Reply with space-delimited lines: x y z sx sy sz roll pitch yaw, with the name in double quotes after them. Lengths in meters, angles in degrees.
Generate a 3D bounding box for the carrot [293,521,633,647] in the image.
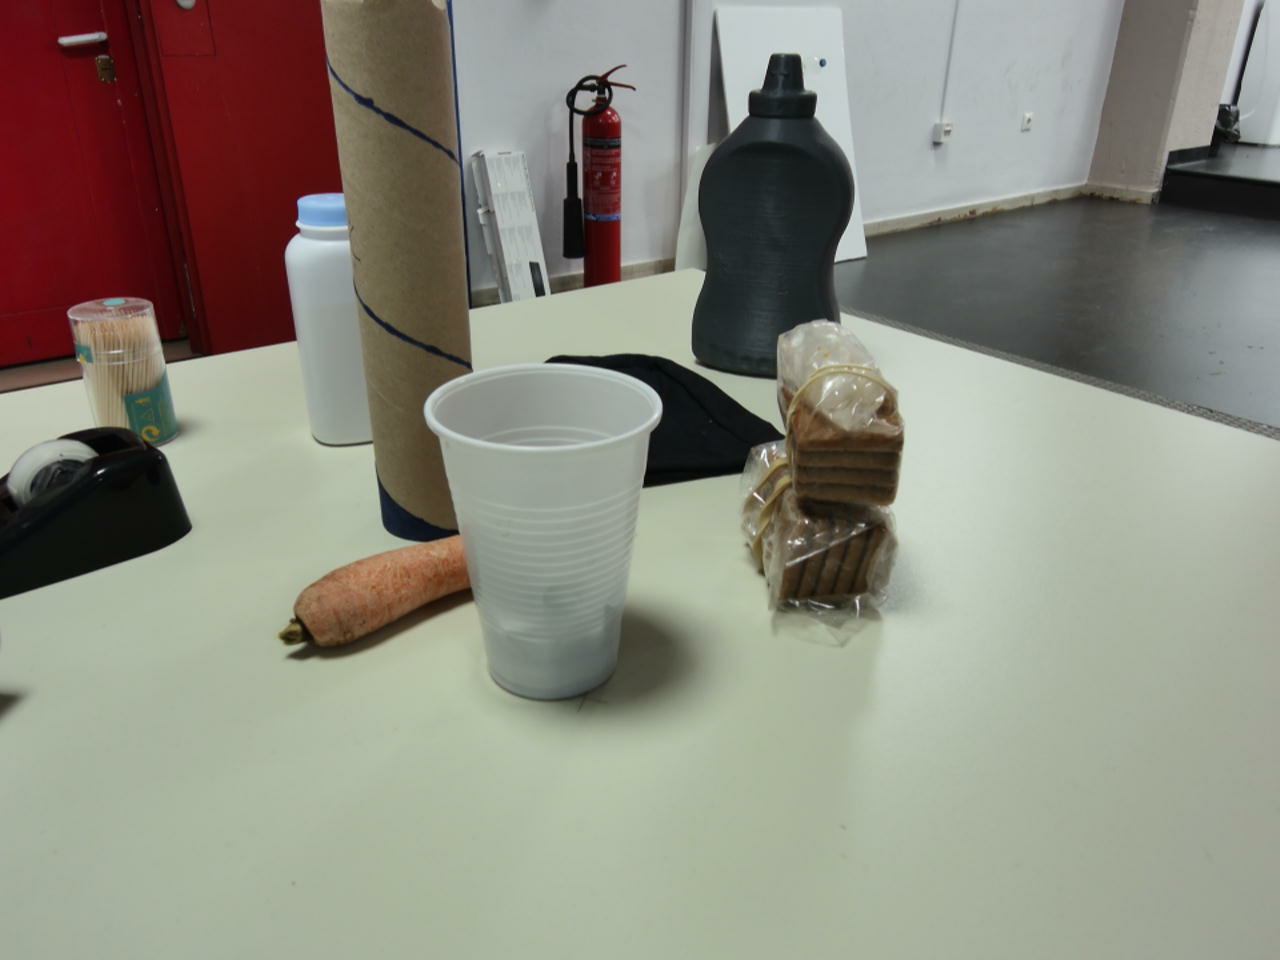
-0.072 0.034 0.434 0.163 0.029 0.031 -18 29 -35 "carrot"
